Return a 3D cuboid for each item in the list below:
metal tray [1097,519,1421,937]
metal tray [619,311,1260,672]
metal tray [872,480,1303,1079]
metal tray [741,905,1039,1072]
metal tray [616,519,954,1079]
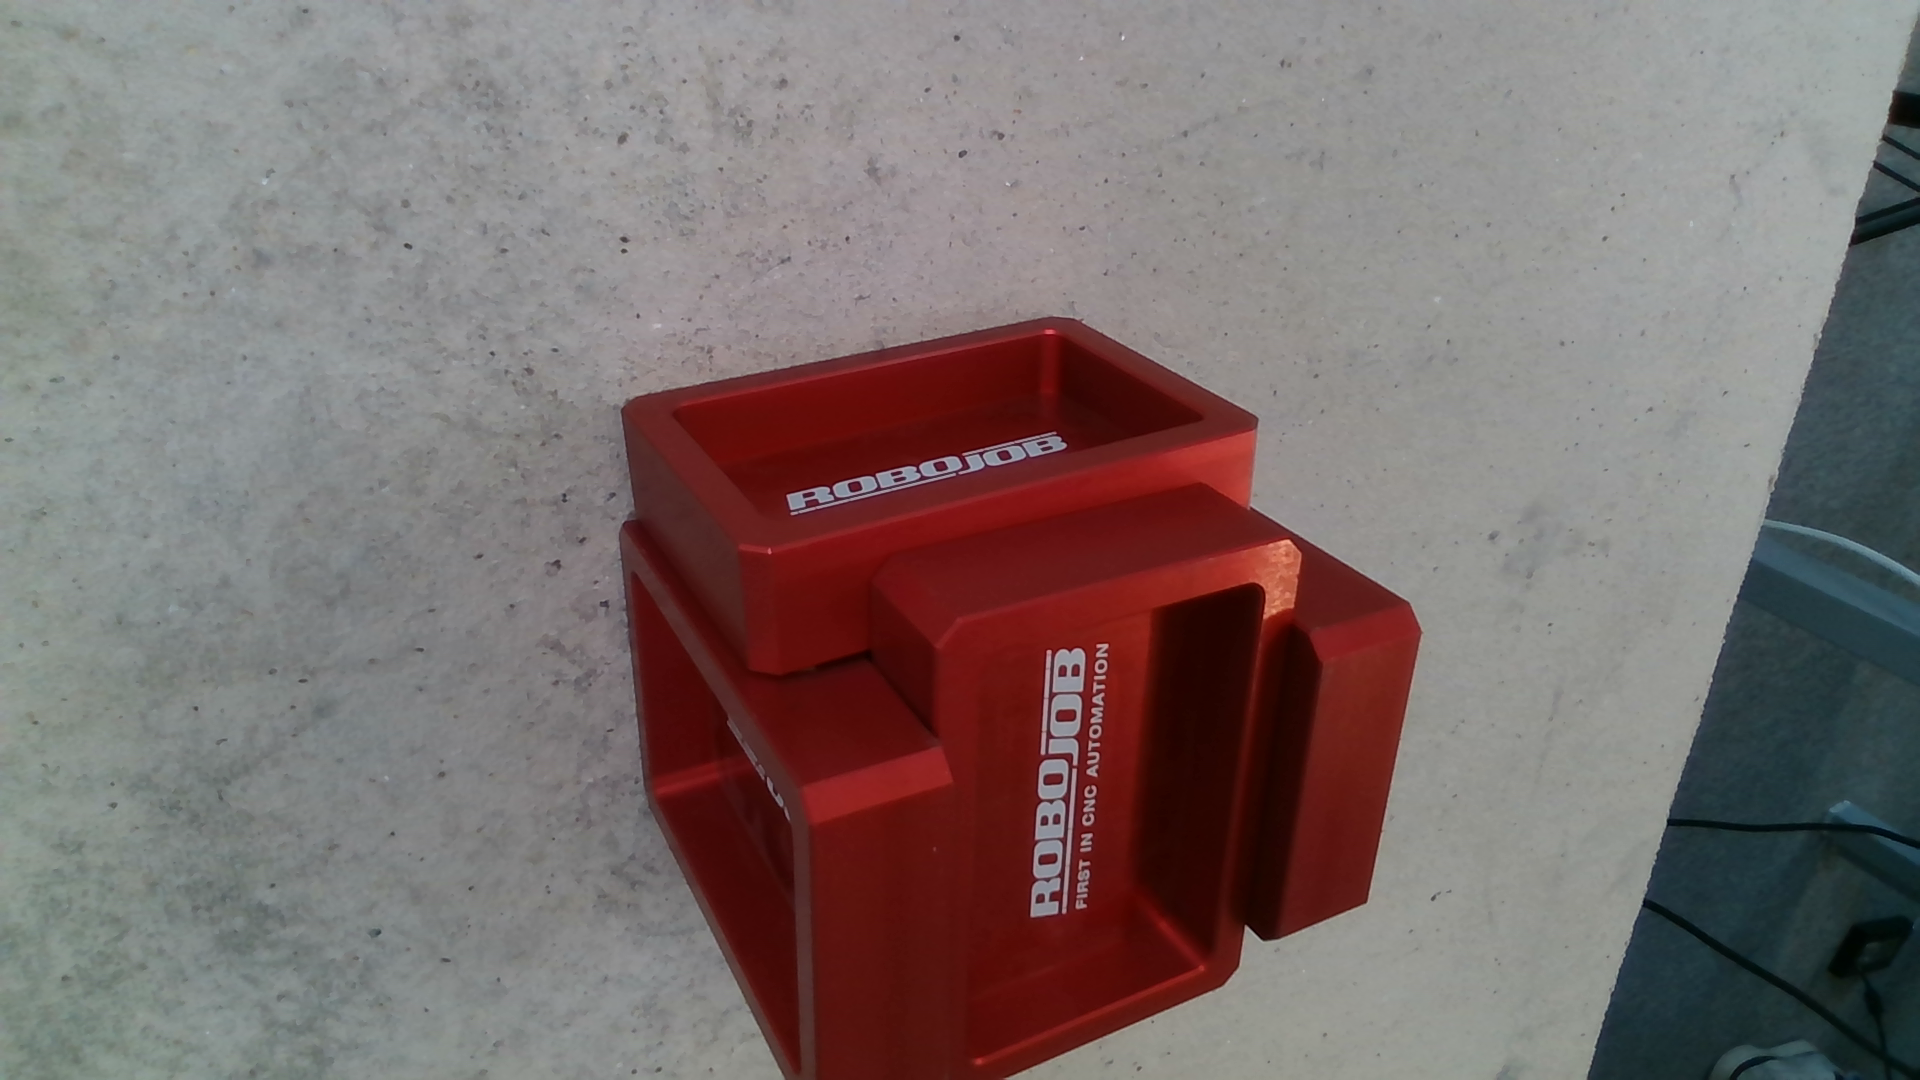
[{"bbox_3d":[0.060,0.032,0.376,0.030,0.130,0.090,-13,121,-26],"label":"metal tray"},{"bbox_3d":[-0.006,-0.018,0.334,0.130,0.090,0.030,-15,122,-25],"label":"metal tray"},{"bbox_3d":[0.027,0.058,0.318,0.090,0.030,0.130,-13,121,-25],"label":"metal tray"},{"bbox_3d":[-0.001,0.094,0.398,0.130,0.090,0.030,-14,120,-27],"label":"metal tray"},{"bbox_3d":[-0.045,0.057,0.325,0.030,0.130,0.090,-13,121,-25],"label":"metal tray"}]
